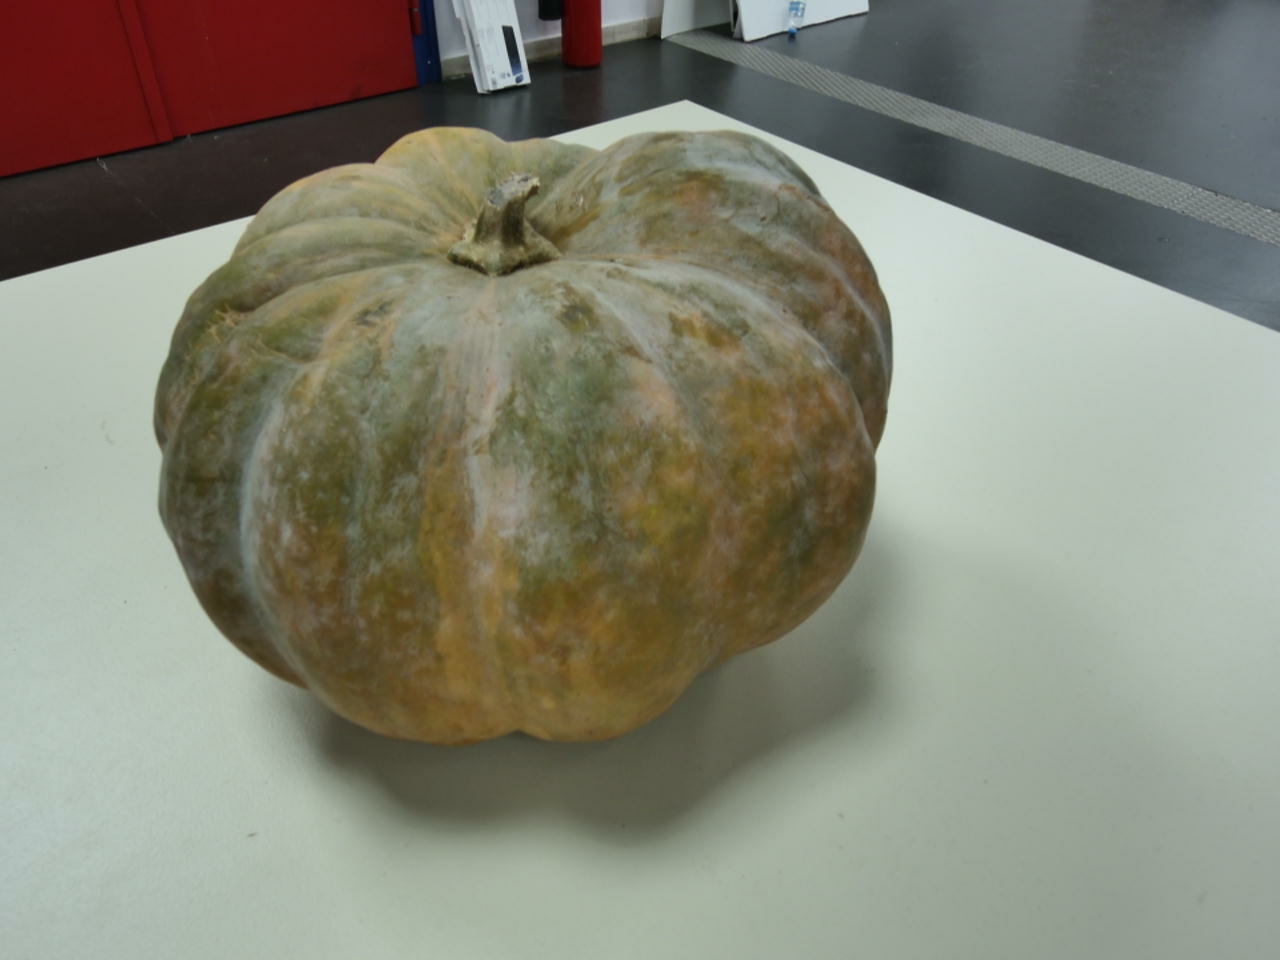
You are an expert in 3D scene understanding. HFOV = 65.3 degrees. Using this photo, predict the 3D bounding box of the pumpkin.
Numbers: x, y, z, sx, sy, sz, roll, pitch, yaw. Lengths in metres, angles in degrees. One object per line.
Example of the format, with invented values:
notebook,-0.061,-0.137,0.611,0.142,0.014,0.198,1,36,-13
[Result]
pumpkin,-0.039,-0.024,0.348,0.252,0.169,0.251,0,37,0
